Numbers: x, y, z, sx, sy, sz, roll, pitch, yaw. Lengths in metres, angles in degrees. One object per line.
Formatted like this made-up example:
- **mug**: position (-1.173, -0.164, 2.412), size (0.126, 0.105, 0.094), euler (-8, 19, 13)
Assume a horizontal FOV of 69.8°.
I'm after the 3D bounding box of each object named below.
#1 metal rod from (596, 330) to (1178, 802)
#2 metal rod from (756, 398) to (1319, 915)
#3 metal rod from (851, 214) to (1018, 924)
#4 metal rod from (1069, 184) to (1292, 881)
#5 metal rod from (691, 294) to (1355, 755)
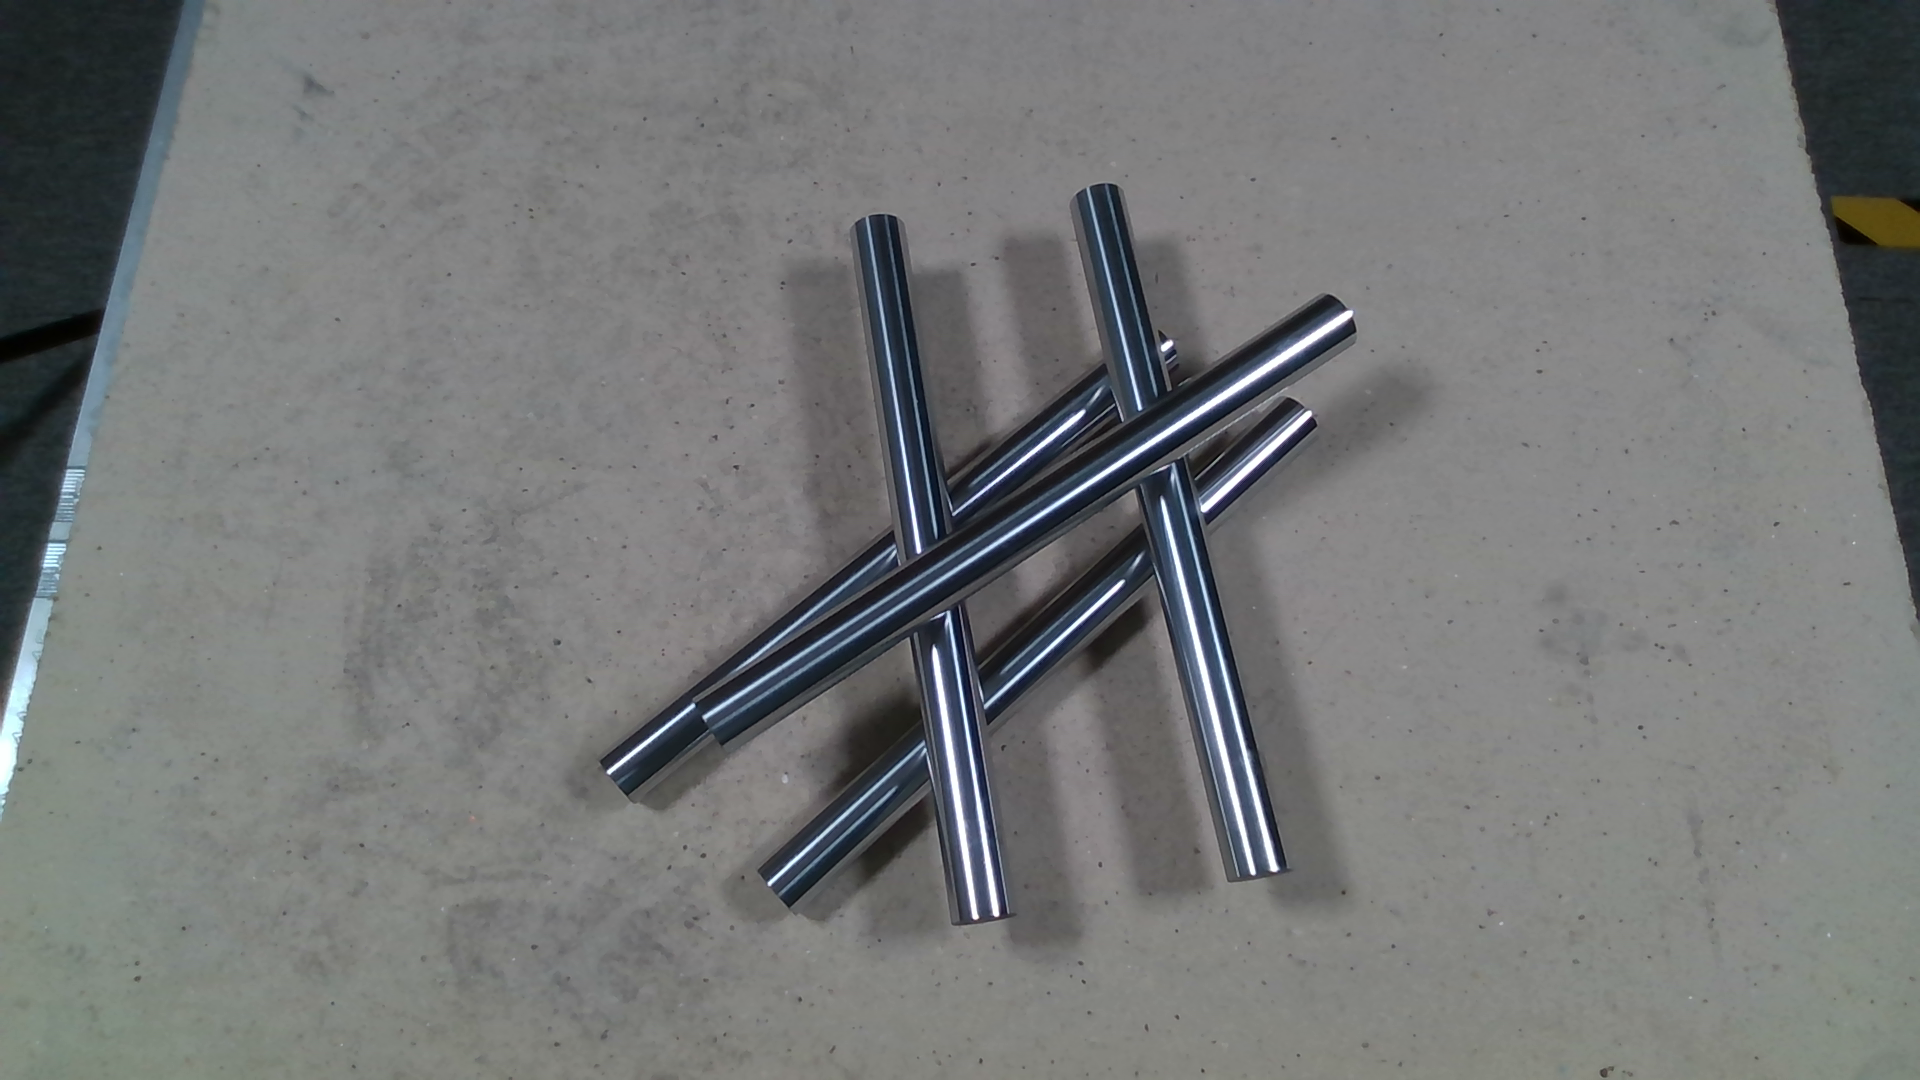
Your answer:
- **metal rod**: position (-0.025, 0.004, 0.586), size (0.300, 0.025, 0.025), euler (-39, 75, -13)
- **metal rod**: position (0.038, 0.042, 0.573), size (0.300, 0.025, 0.025), euler (-41, 75, -13)
- **metal rod**: position (-0.014, 0.002, 0.562), size (0.025, 0.025, 0.299), euler (-8, 71, -3)
- **metal rod**: position (0.087, -0.013, 0.567), size (0.025, 0.025, 0.299), euler (-9, 71, -3)
- **metal rod**: position (0.031, -0.010, 0.539), size (0.300, 0.025, 0.025), euler (-33, 73, -11)
